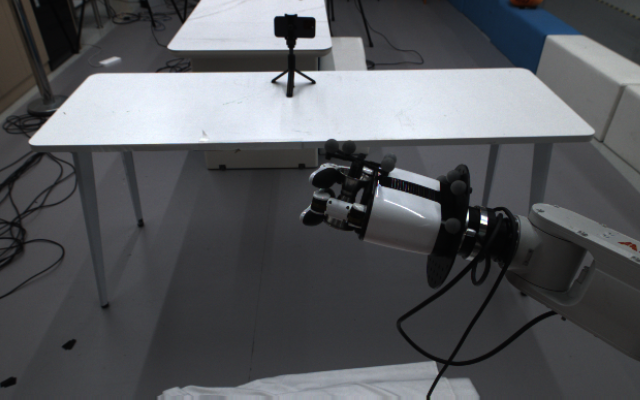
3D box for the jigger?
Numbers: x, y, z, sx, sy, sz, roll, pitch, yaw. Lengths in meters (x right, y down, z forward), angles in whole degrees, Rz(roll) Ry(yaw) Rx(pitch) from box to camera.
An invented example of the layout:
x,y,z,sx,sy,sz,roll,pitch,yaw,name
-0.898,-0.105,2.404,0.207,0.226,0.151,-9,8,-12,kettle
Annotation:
x,y,z,sx,sy,sz,roll,pitch,yaw,name
0.036,-0.001,0.611,0.043,0.071,0.043,15,16,-5,jigger
